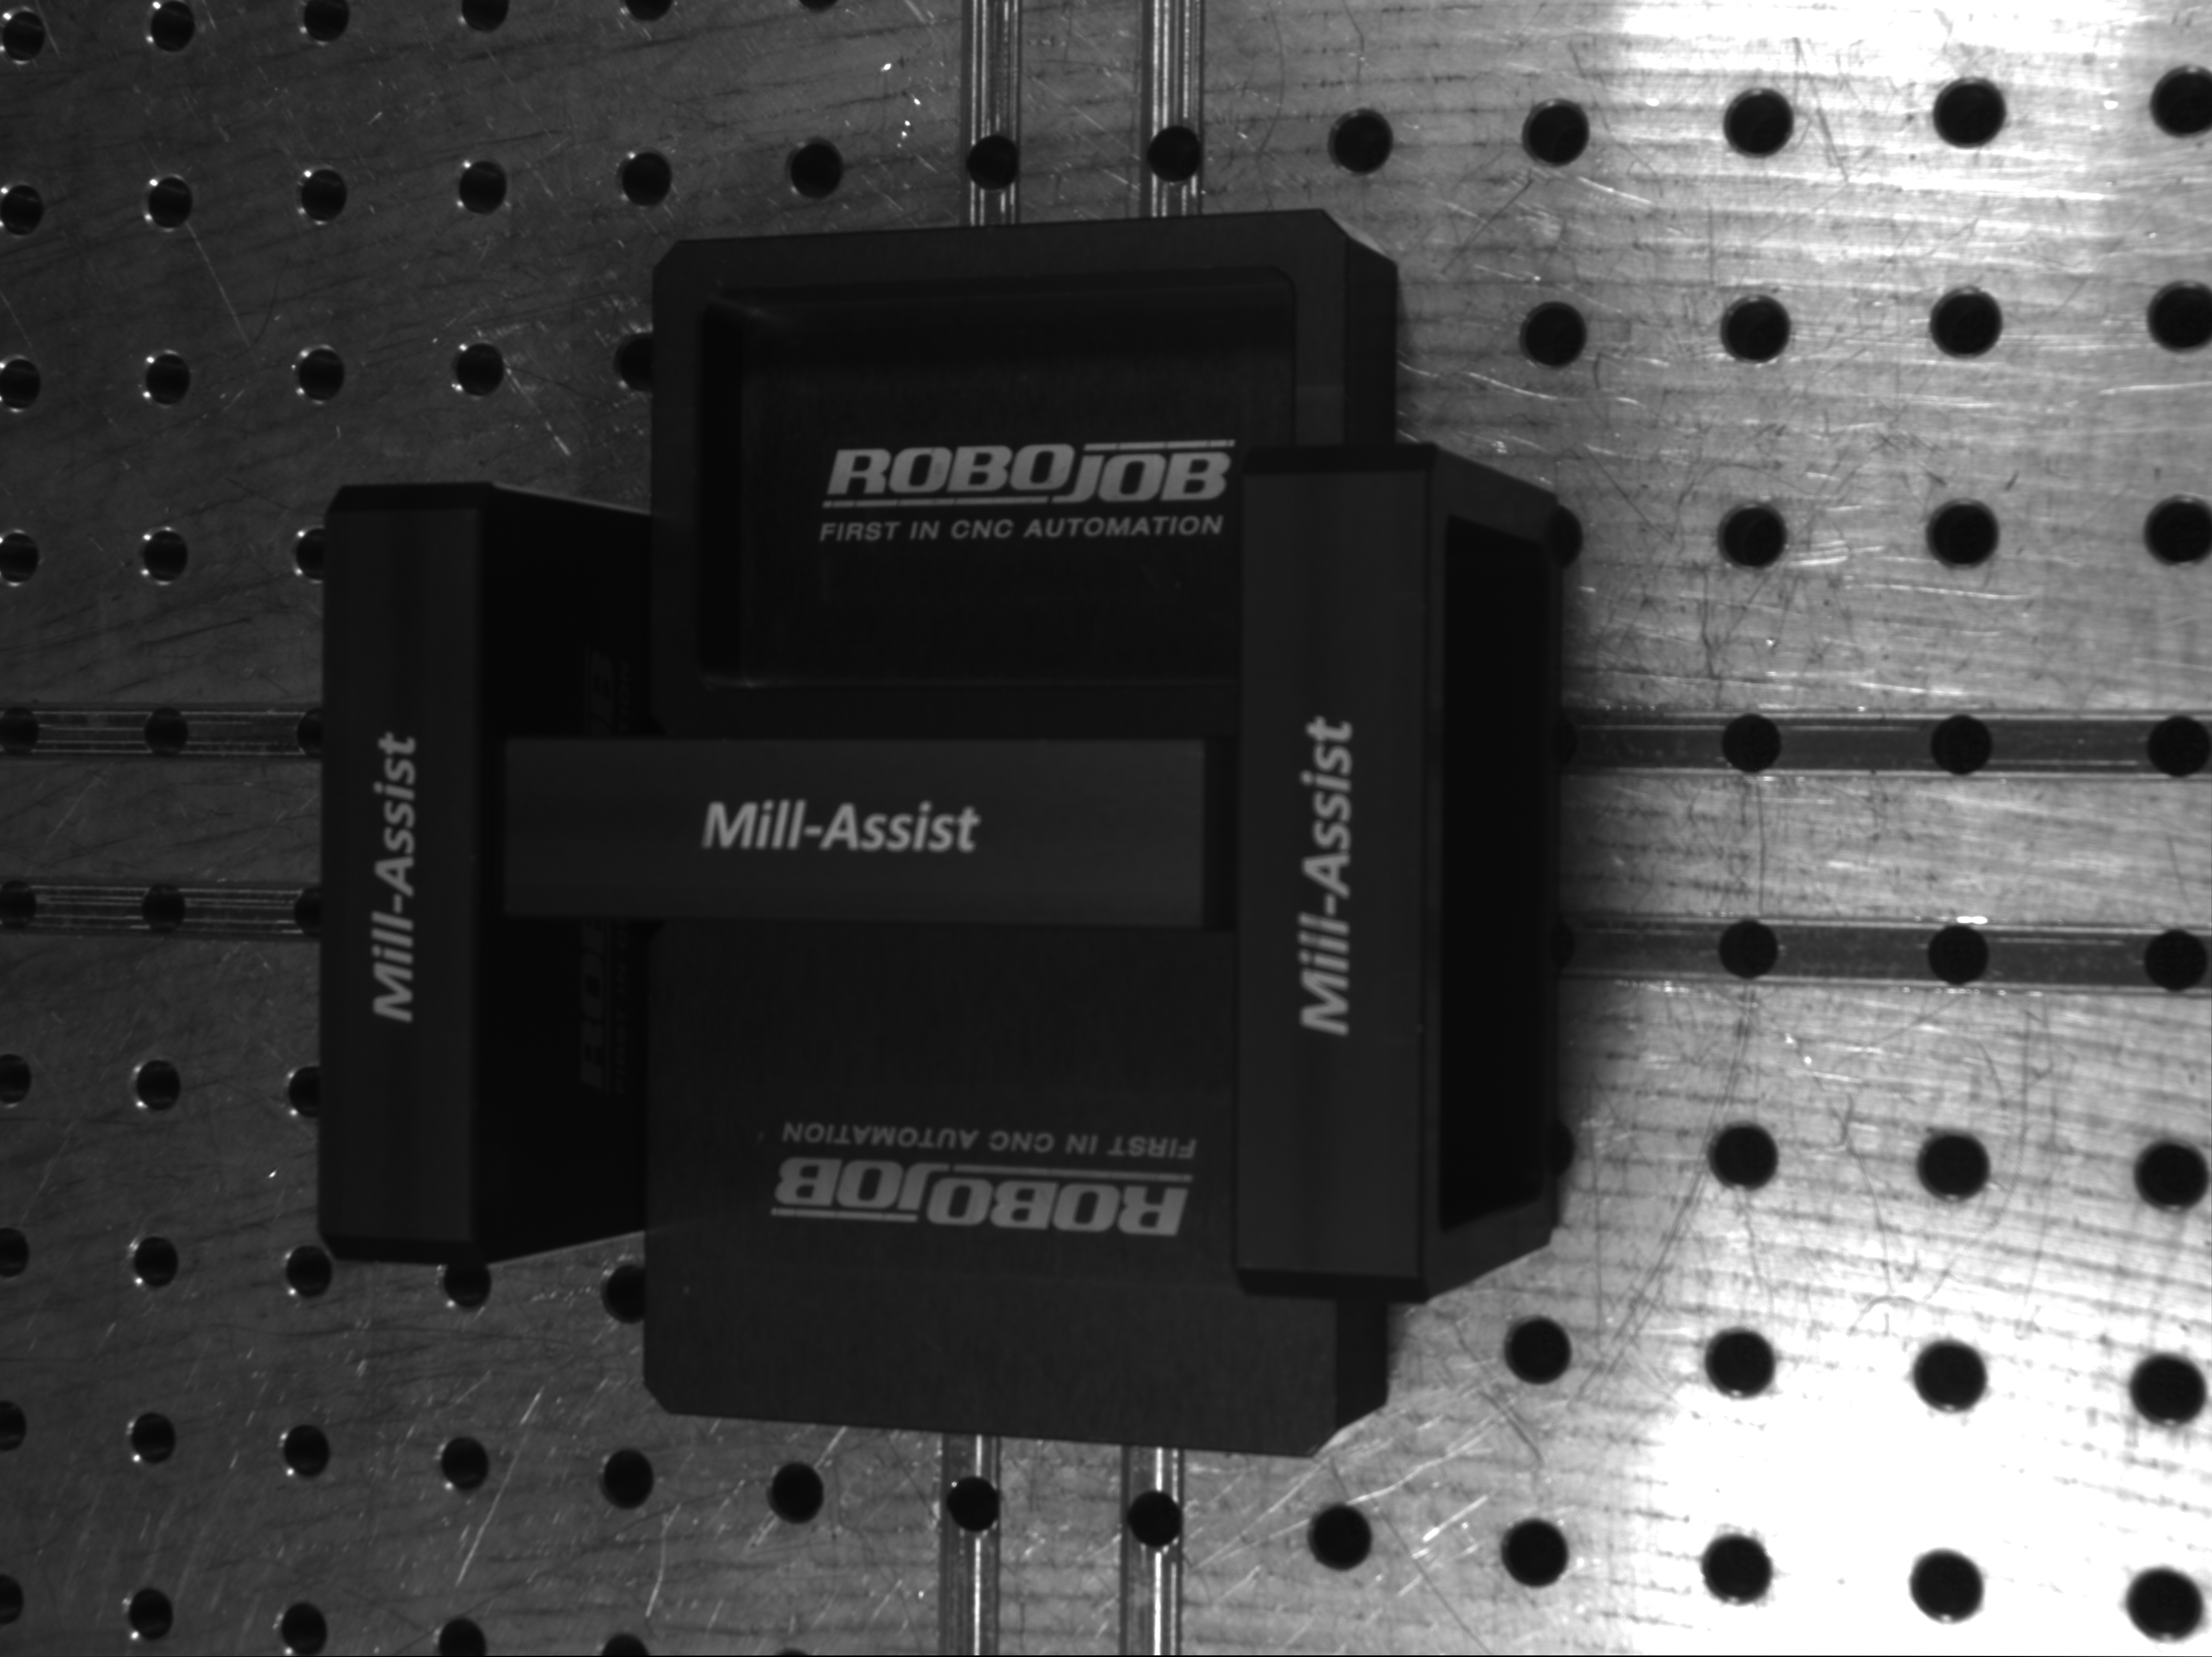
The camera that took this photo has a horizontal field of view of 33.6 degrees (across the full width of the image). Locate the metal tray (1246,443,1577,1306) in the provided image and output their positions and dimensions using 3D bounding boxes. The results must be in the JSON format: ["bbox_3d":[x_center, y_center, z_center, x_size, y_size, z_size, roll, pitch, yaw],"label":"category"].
[{"bbox_3d":[0.051,0.007,0.593,0.030,0.090,0.130,1,90,20],"label":"metal tray"}]

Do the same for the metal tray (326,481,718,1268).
[{"bbox_3d":[-0.100,0.008,0.647,0.030,0.090,0.130,1,90,20],"label":"metal tray"}]

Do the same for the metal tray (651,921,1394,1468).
[{"bbox_3d":[-0.015,0.062,0.648,0.130,0.030,0.090,1,90,20],"label":"metal tray"}]

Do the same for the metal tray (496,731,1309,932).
[{"bbox_3d":[-0.026,0.000,0.620,0.130,0.090,0.030,1,90,20],"label":"metal tray"}]

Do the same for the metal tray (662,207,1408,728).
[{"bbox_3d":[-0.013,-0.060,0.649,0.130,0.030,0.090,1,90,20],"label":"metal tray"}]
